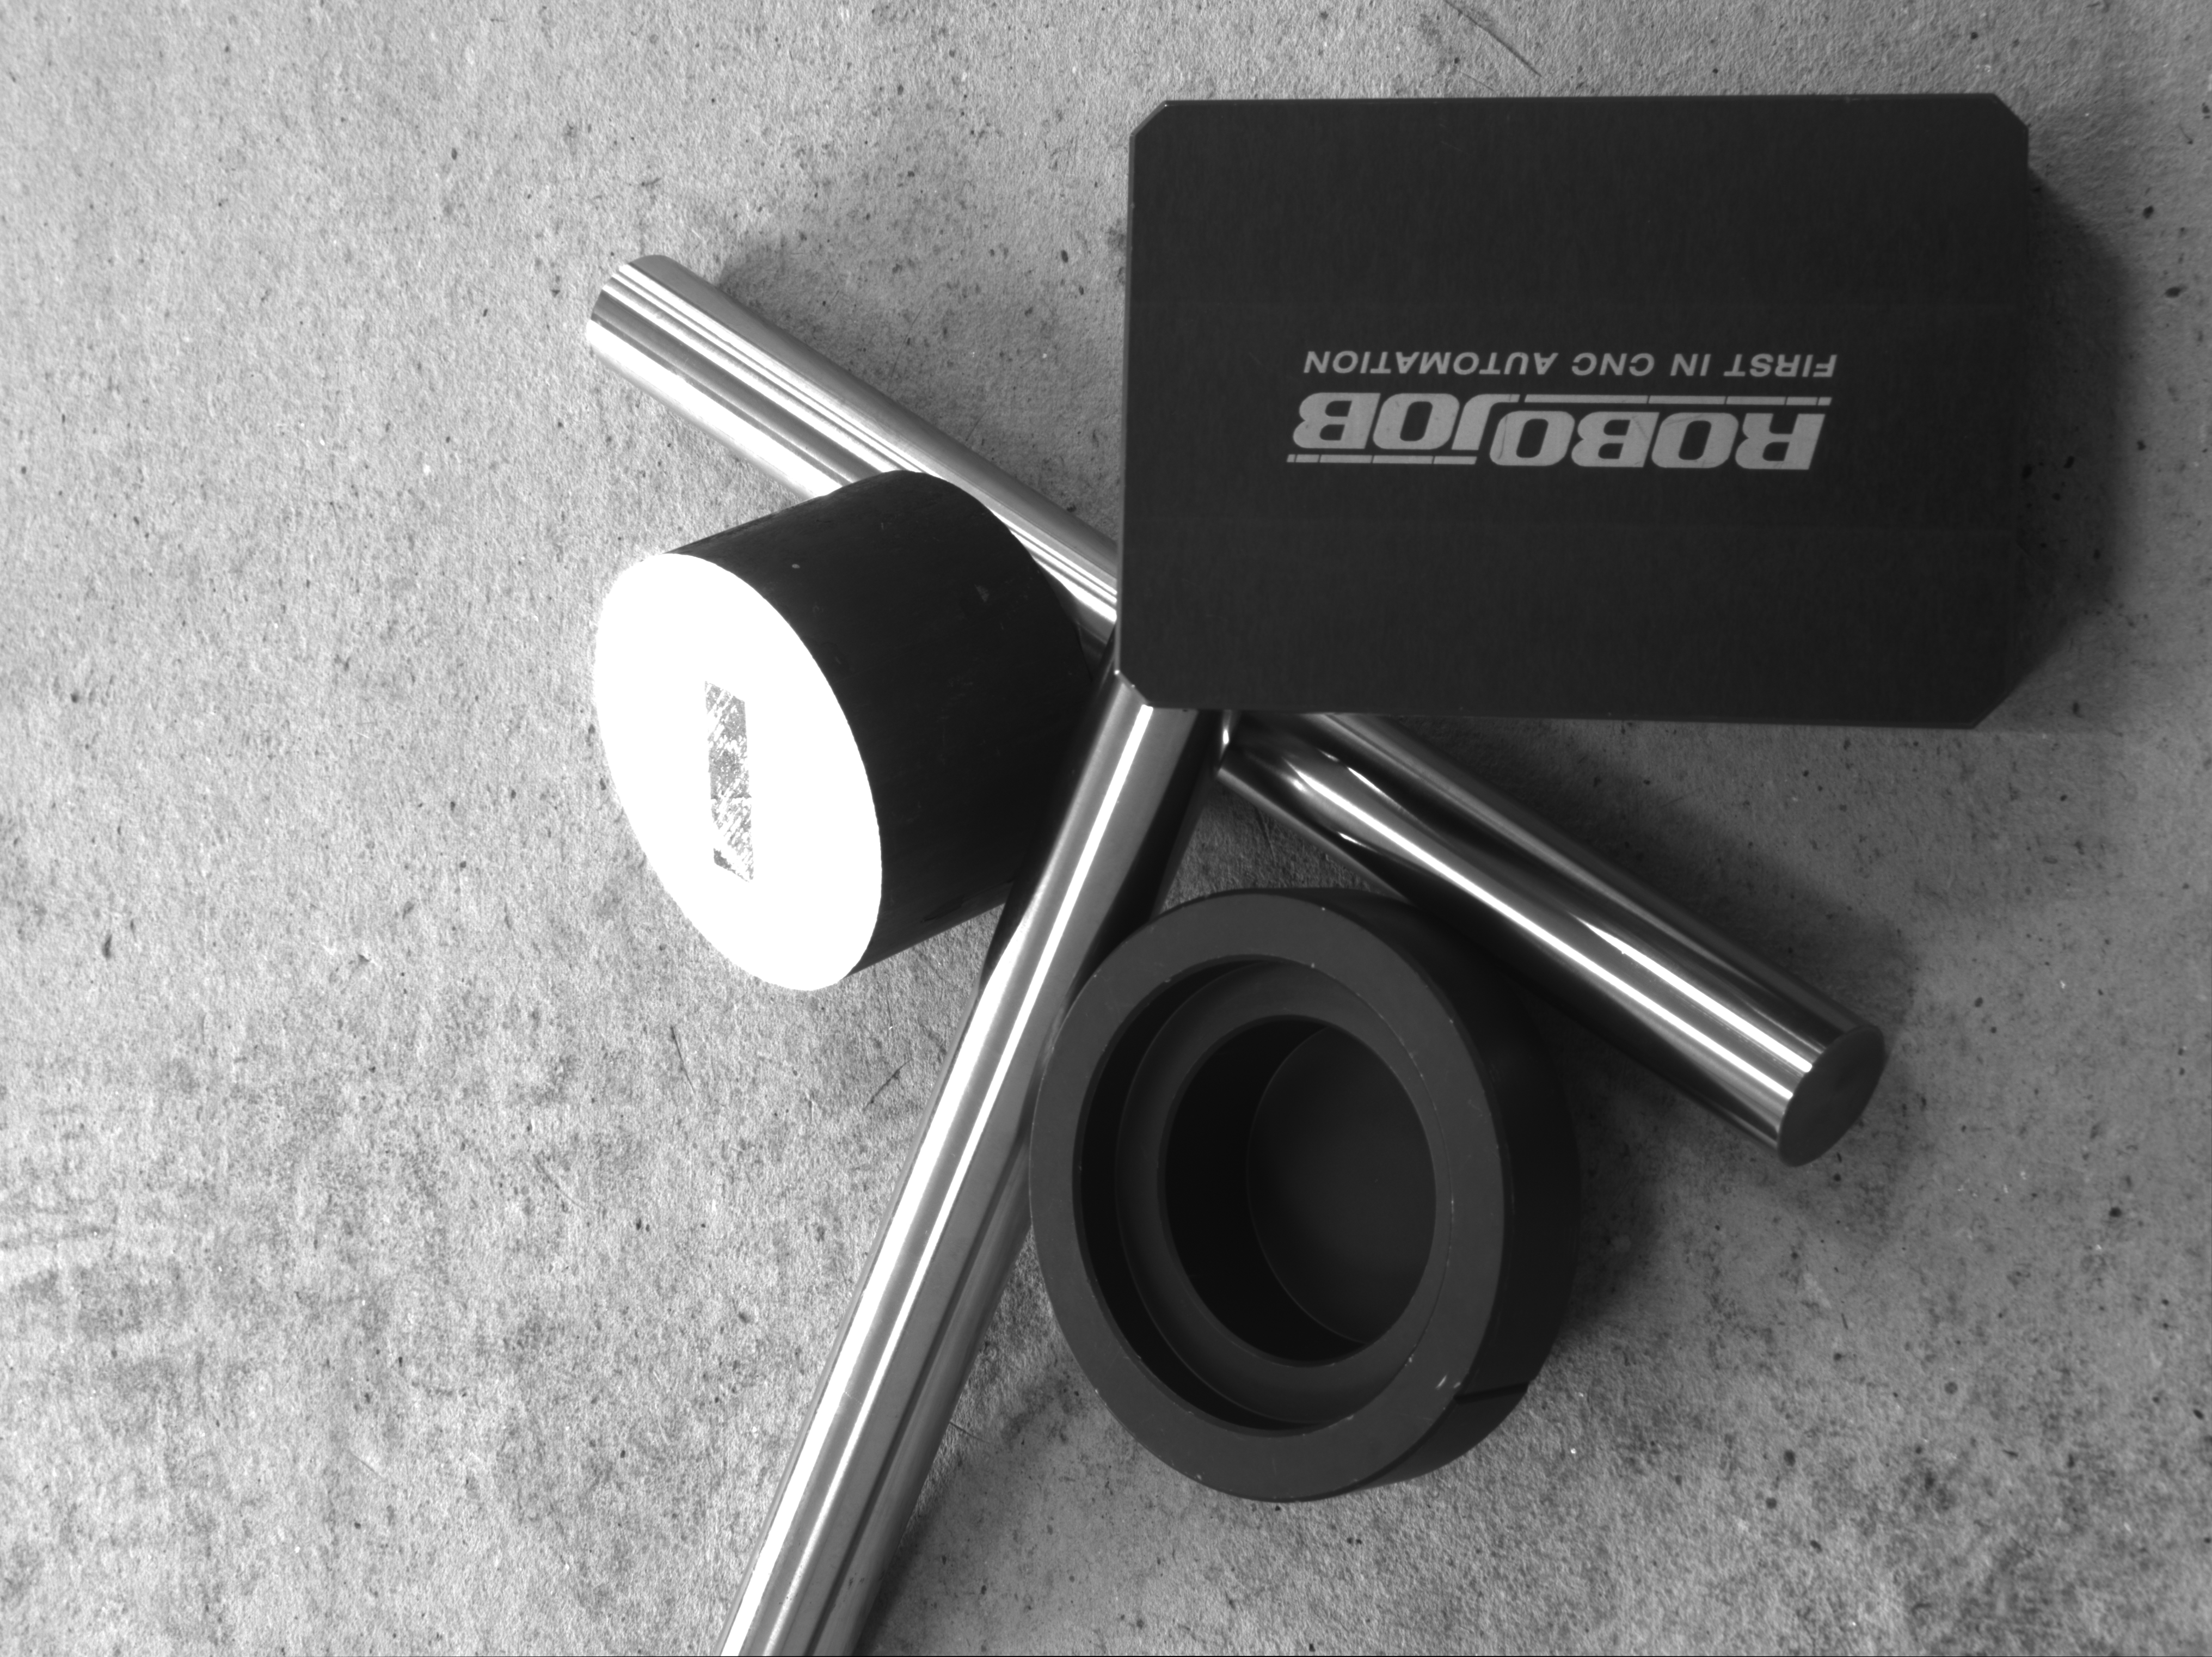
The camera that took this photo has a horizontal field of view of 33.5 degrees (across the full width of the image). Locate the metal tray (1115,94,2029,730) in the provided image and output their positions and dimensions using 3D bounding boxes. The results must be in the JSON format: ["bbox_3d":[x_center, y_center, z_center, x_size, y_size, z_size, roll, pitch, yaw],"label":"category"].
[{"bbox_3d":[0.069,-0.061,0.547,0.130,0.030,0.090,2,91,12],"label":"metal tray"}]

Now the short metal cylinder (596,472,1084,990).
[{"bbox_3d":[-0.047,-0.018,0.652,0.080,0.050,0.080,30,132,40],"label":"short metal cylinder"}]

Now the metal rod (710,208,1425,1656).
[{"bbox_3d":[-0.013,0.034,0.634,0.025,0.025,0.300,40,121,33],"label":"metal rod"}]

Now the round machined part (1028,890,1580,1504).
[{"bbox_3d":[0.037,0.059,0.603,0.098,0.042,0.098,0,90,40],"label":"round machined part"}]

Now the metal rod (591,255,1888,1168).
[{"bbox_3d":[0.009,-0.030,0.639,0.299,0.025,0.025,35,112,35],"label":"metal rod"}]
